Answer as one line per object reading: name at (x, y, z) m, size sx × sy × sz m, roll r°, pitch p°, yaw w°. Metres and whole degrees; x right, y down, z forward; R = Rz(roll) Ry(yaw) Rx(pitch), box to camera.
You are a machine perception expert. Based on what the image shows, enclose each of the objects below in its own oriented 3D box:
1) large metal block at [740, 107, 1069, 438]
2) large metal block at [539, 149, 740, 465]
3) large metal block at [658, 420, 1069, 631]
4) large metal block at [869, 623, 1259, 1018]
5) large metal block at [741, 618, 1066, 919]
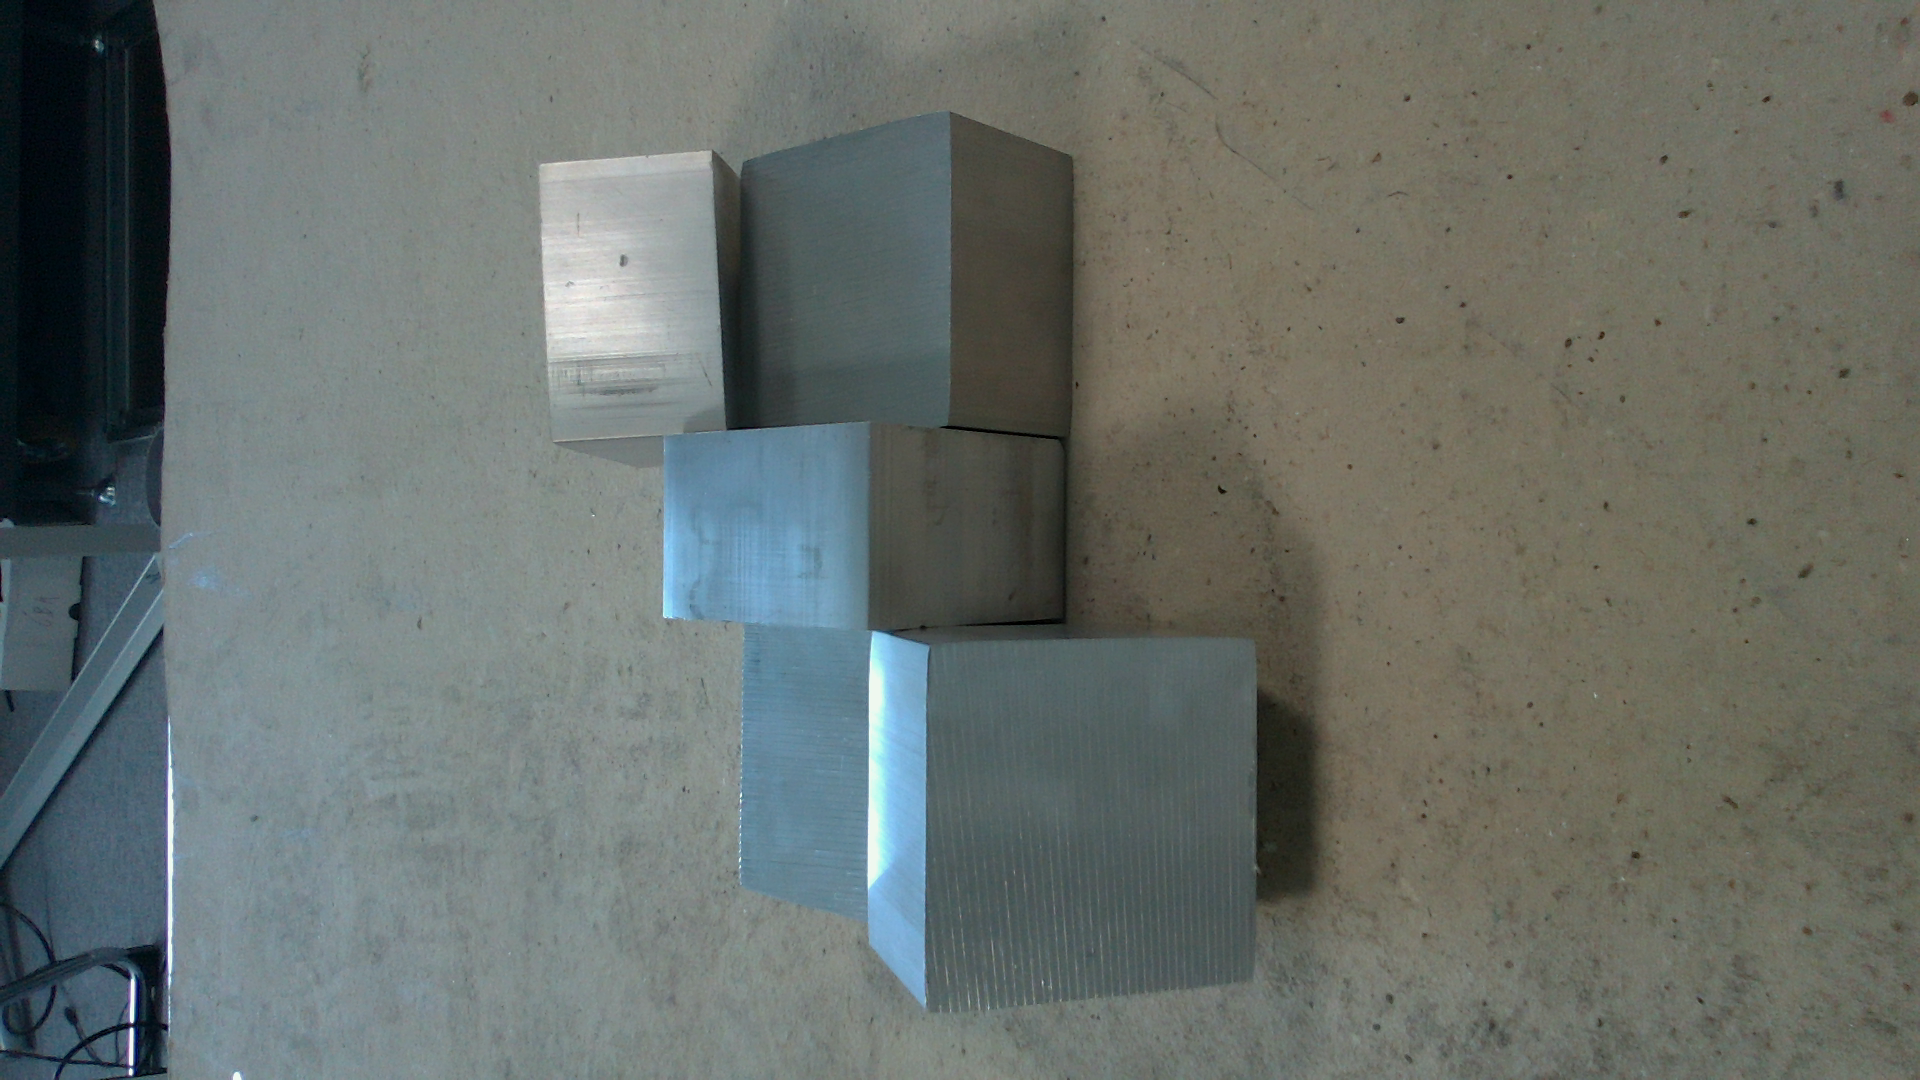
large metal block at (-0.017, -0.069, 0.390) m, size 0.080 × 0.050 × 0.080 m, roll 1°, pitch 90°, yaw 41°
large metal block at (-0.088, -0.066, 0.424) m, size 0.050 × 0.080 × 0.080 m, roll -3°, pitch 88°, yaw 6°
large metal block at (-0.026, -0.004, 0.381) m, size 0.080 × 0.080 × 0.050 m, roll 1°, pitch 90°, yaw 40°
large metal block at (0.023, 0.062, 0.330) m, size 0.050 × 0.080 × 0.080 m, roll -179°, pitch 89°, yaw -72°
large metal block at (-0.017, 0.062, 0.393) m, size 0.080 × 0.050 × 0.080 m, roll 1°, pitch 91°, yaw 40°
